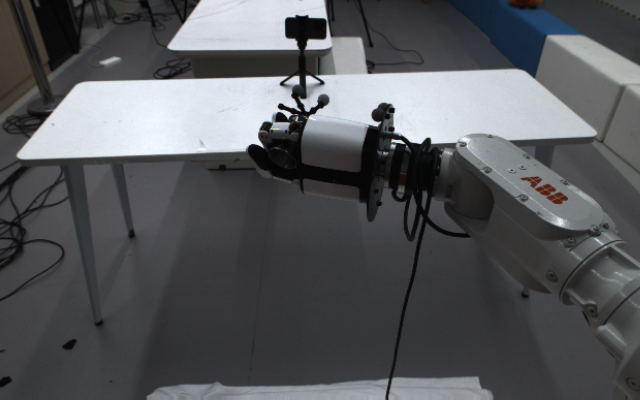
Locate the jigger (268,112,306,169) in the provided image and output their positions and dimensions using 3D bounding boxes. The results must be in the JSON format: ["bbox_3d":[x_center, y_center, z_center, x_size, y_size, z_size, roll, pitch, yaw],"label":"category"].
[{"bbox_3d":[-0.039,-0.086,0.683,0.043,0.043,0.071,15,58,18],"label":"jigger"}]
